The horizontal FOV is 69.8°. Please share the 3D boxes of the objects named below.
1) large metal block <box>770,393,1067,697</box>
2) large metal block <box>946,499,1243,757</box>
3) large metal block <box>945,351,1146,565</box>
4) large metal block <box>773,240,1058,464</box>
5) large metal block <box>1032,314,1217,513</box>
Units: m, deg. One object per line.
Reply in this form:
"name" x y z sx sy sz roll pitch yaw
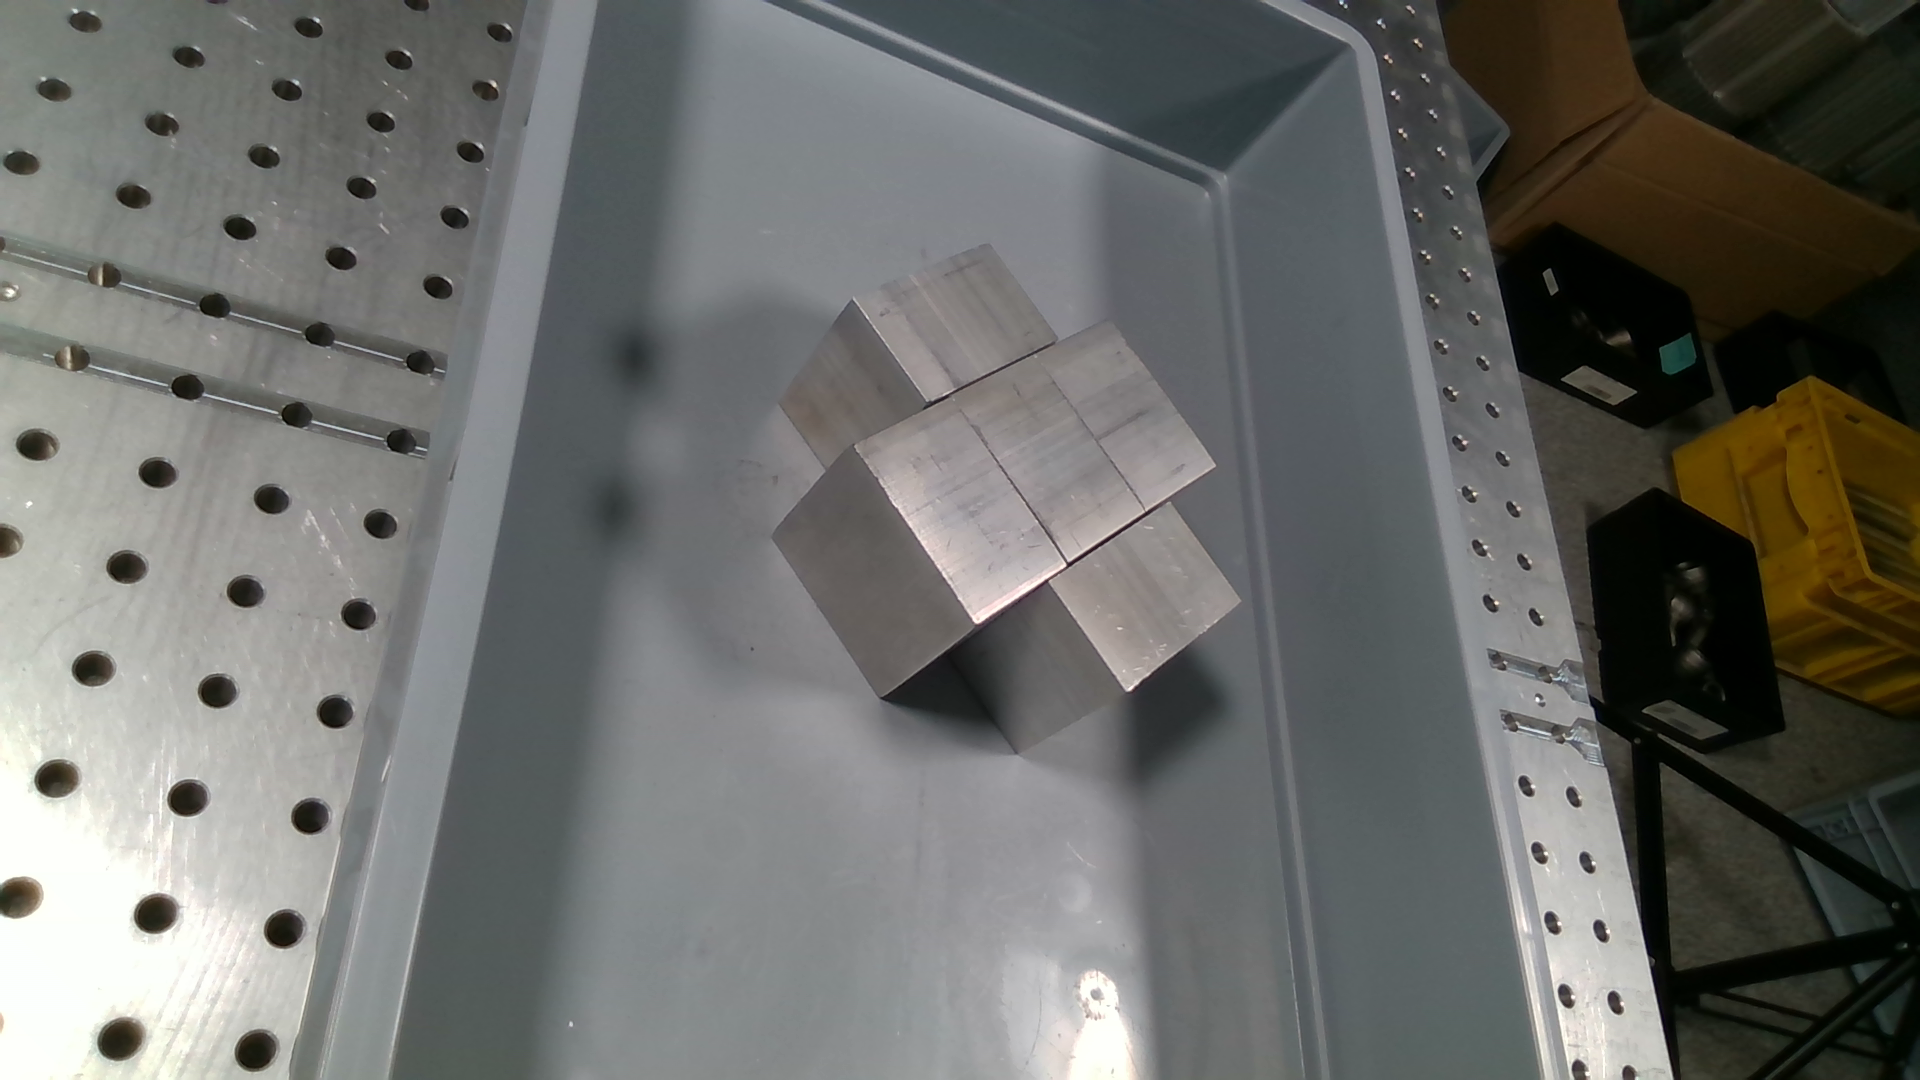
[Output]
"large metal block" -0.018 0.003 0.538 0.050 0.080 0.080 -31 83 -39
"large metal block" 0.054 0.037 0.564 0.080 0.080 0.050 -31 84 -39
"large metal block" 0.016 -0.017 0.569 0.050 0.080 0.080 -31 83 -39
"large metal block" -0.019 -0.072 0.577 0.080 0.080 0.050 -31 84 -39
"large metal block" 0.050 -0.037 0.600 0.050 0.080 0.080 -31 83 -39
